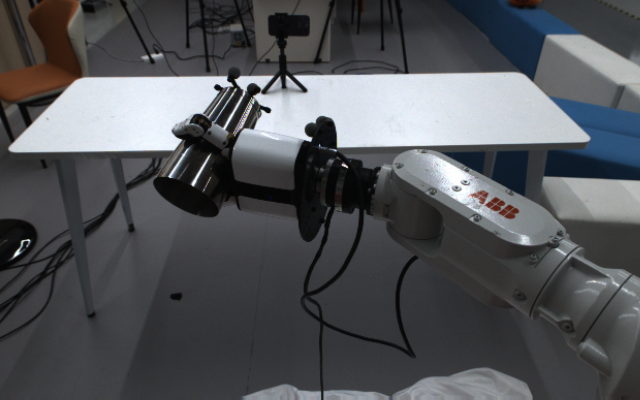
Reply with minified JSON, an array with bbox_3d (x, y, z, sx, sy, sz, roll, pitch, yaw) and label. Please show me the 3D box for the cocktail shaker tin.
[{"bbox_3d":[-0.145,-0.071,0.661,0.093,0.093,0.170,14,61,17],"label":"cocktail shaker tin"}]
